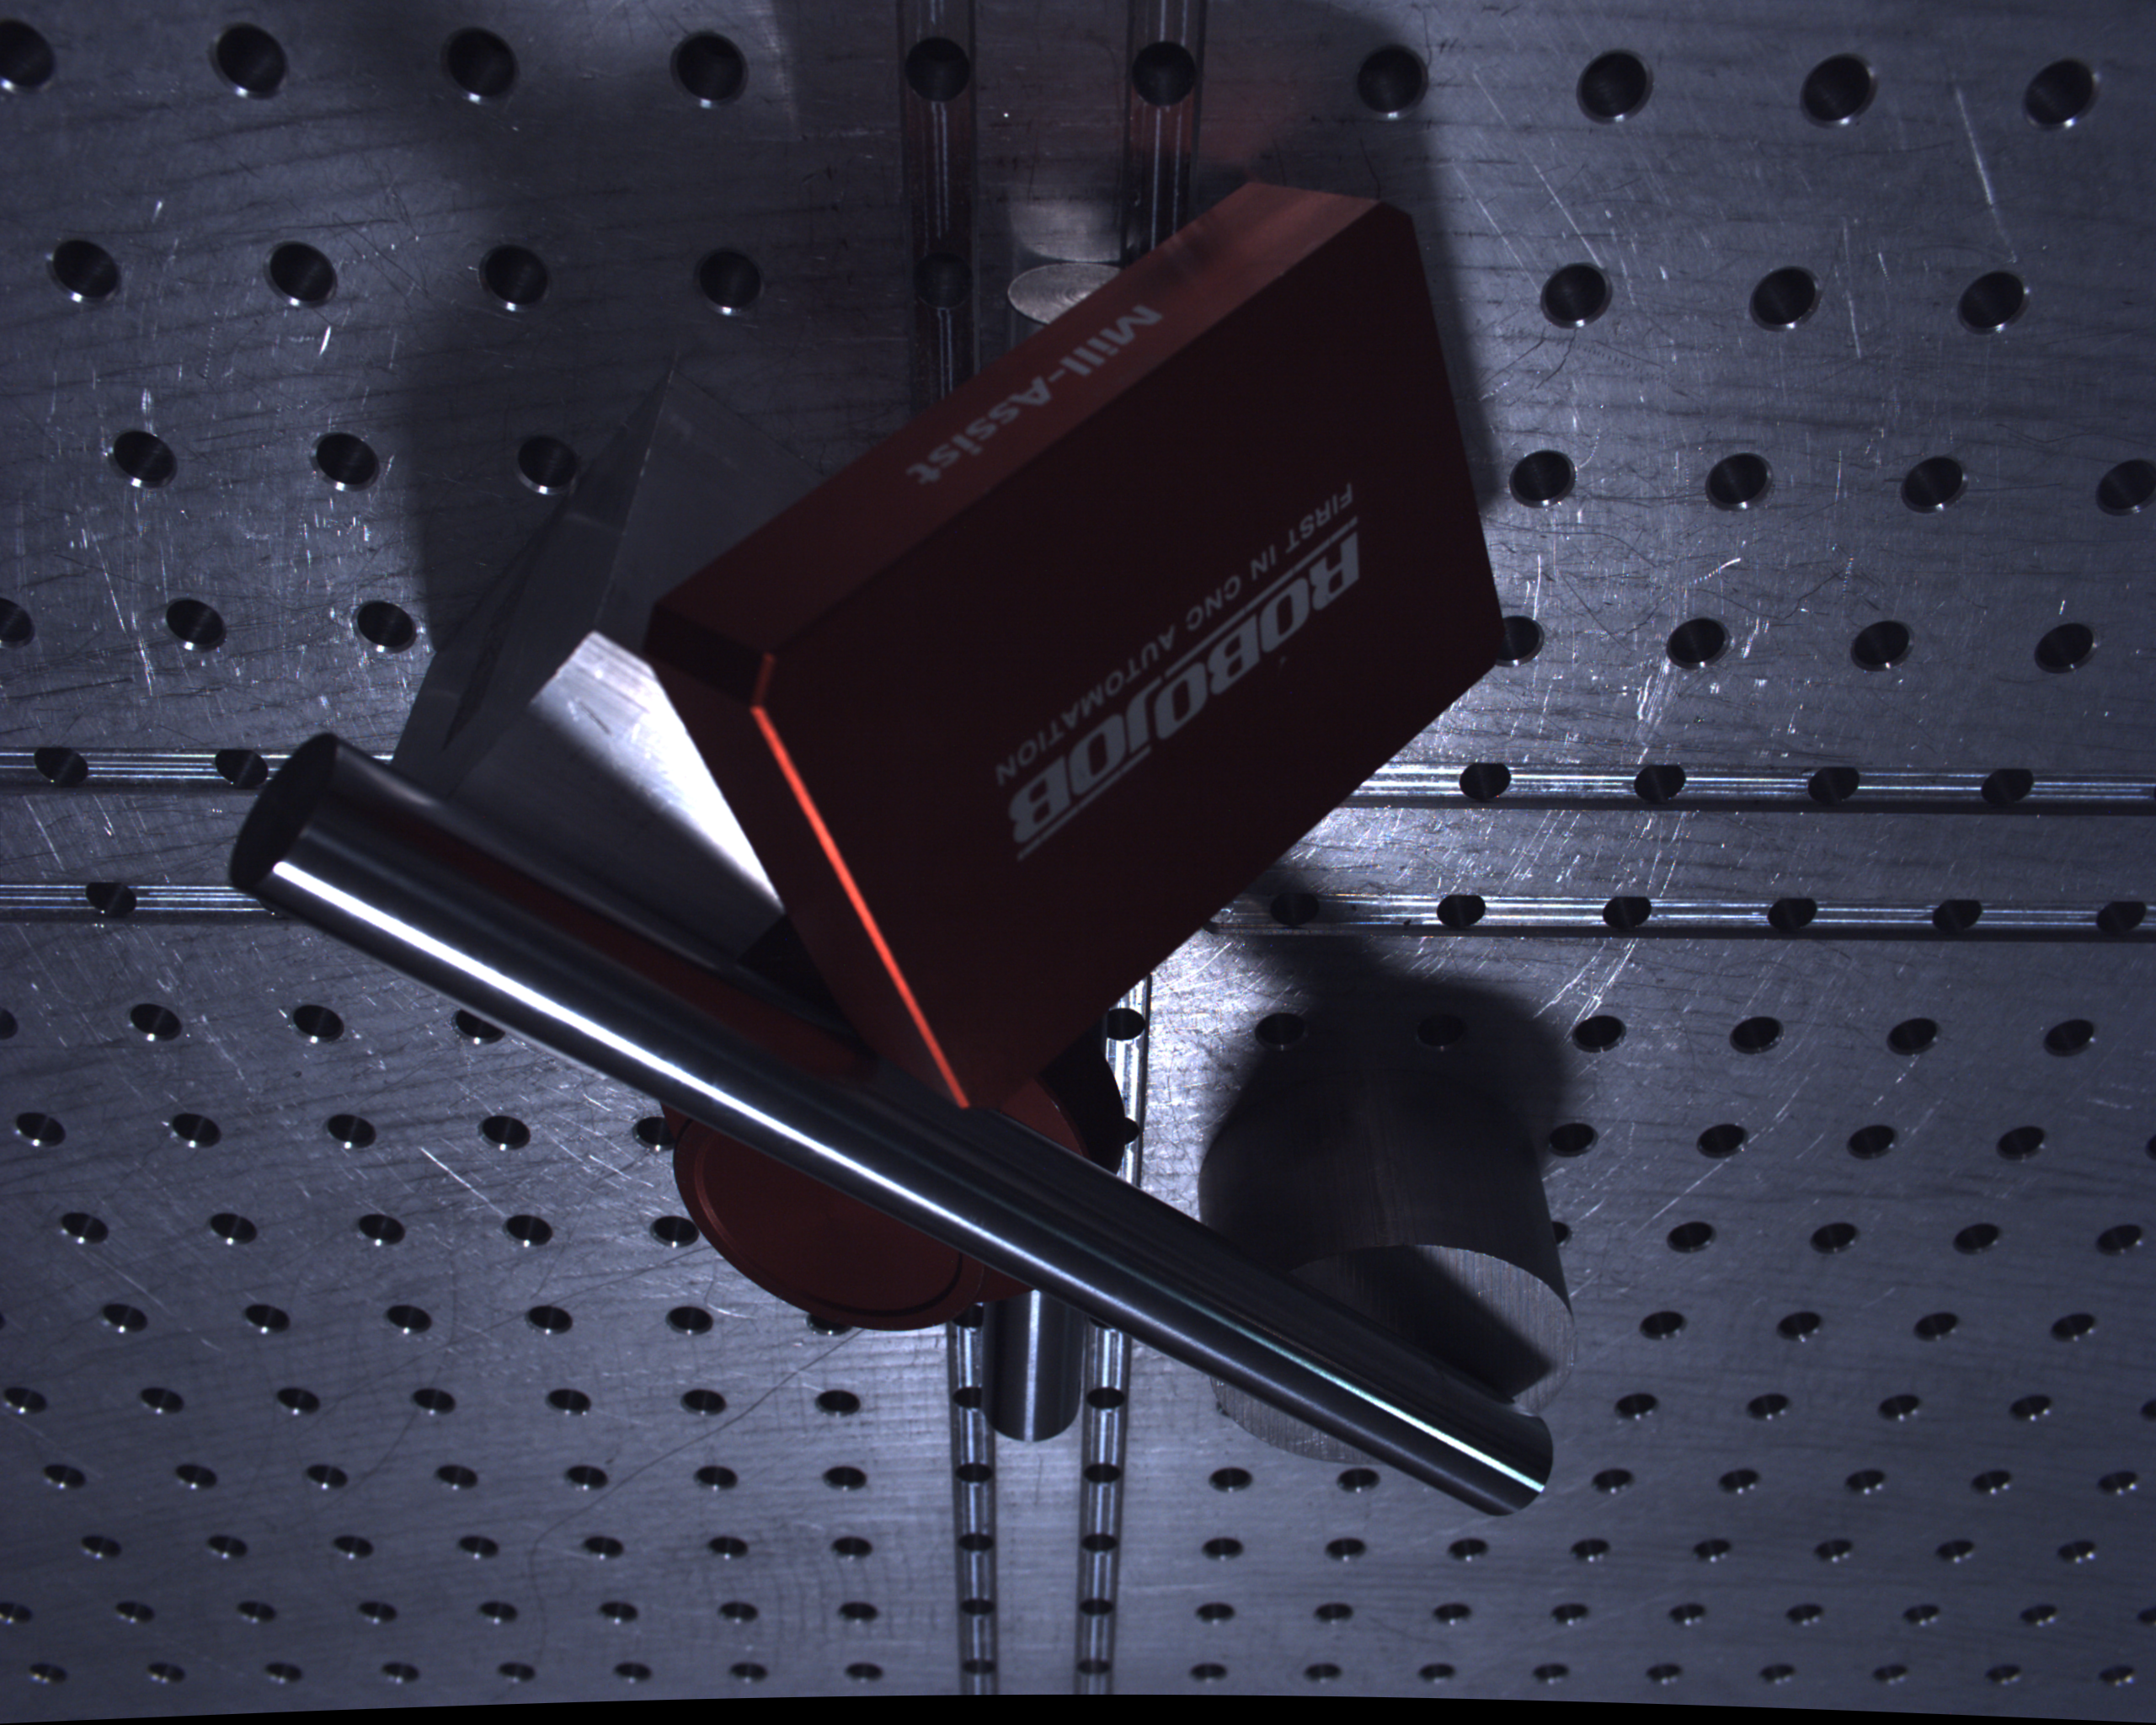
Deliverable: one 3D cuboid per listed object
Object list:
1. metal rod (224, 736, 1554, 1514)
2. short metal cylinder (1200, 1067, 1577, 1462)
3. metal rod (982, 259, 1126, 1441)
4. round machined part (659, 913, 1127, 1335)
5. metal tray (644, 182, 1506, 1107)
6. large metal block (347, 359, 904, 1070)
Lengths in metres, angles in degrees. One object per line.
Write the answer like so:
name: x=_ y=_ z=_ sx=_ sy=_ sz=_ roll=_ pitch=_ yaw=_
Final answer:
metal rod: x=-0.008 y=0.062 z=0.372 sx=0.025 sy=0.025 sz=0.301 roll=-36 pitch=130 yaw=26
short metal cylinder: x=0.069 y=0.092 z=0.476 sx=0.081 sy=0.050 sz=0.079 roll=0 pitch=130 yaw=0
metal rod: x=-0.006 y=0.022 z=0.430 sx=0.025 sy=0.025 sz=0.298 roll=2 pitch=130 yaw=-2
round machined part: x=-0.043 y=0.059 z=0.430 sx=0.098 sy=0.042 sz=0.097 roll=11 pitch=131 yaw=13
metal tray: x=0.008 y=-0.035 z=0.327 sx=0.131 sy=0.030 sz=0.090 roll=-40 pitch=131 yaw=-22
large metal block: x=-0.076 y=-0.025 z=0.354 sx=0.050 sy=0.080 sz=0.080 roll=34 pitch=122 yaw=-26
